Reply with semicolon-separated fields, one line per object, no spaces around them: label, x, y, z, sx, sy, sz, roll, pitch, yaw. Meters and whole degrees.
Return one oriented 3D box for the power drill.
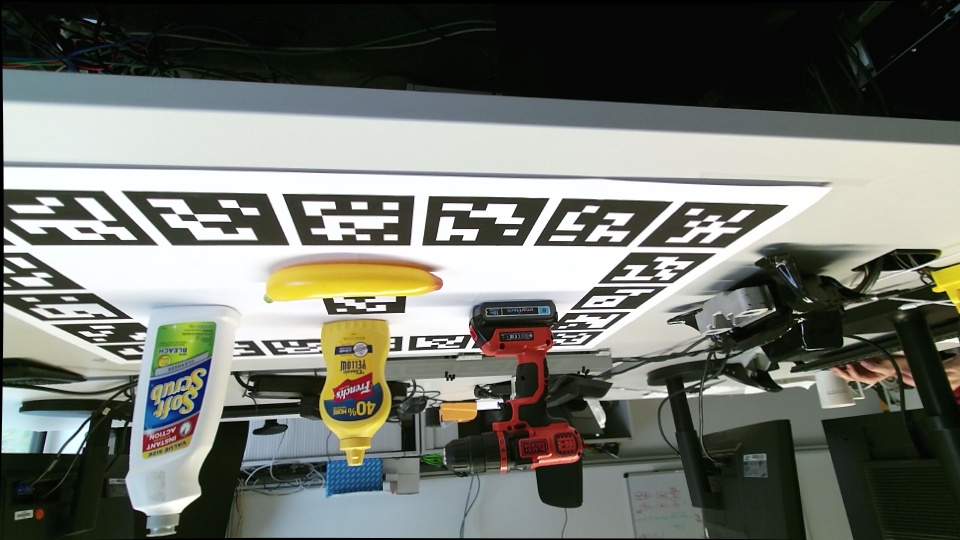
power drill;0.030;0.173;0.711;0.185;0.186;0.057;-6;156;-6

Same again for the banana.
banana;-0.136;0.019;0.568;0.198;0.038;0.074;-5;155;-6

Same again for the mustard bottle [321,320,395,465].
mustard bottle;-0.166;0.166;0.734;0.096;0.190;0.058;-2;156;-1

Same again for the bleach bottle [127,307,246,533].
bleach bottle;-0.344;0.170;0.631;0.103;0.249;0.068;3;155;-17
